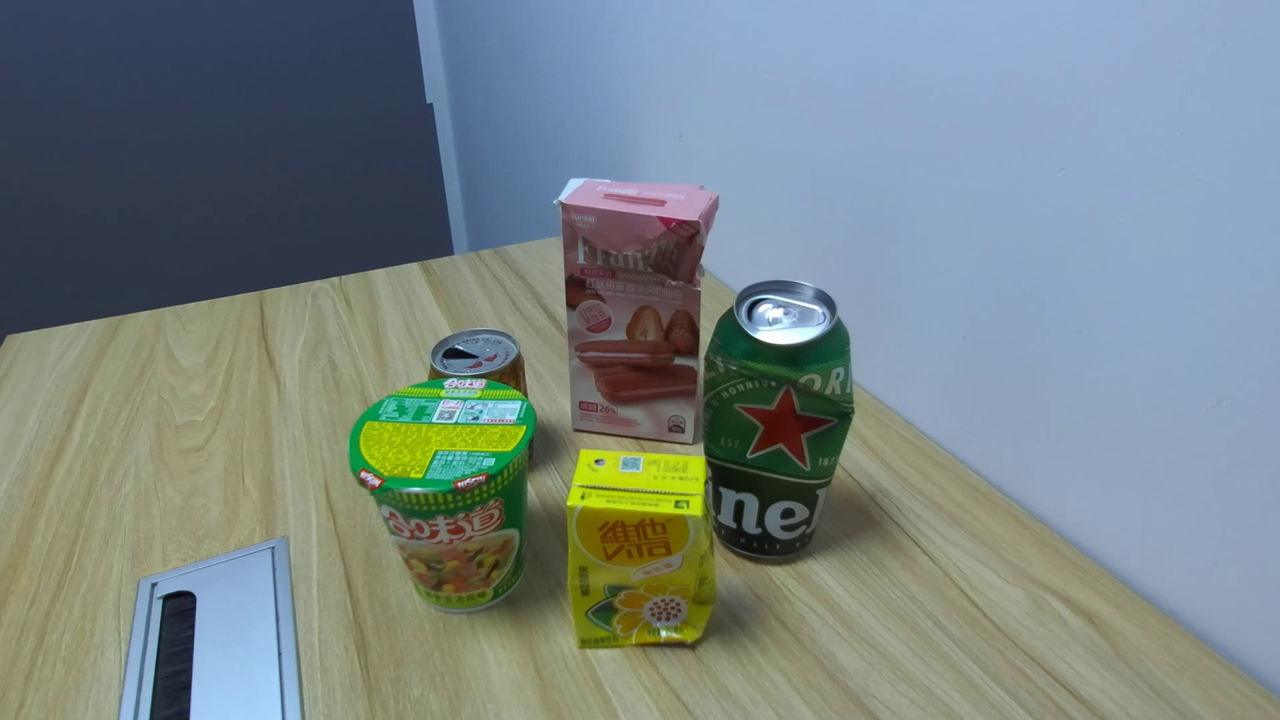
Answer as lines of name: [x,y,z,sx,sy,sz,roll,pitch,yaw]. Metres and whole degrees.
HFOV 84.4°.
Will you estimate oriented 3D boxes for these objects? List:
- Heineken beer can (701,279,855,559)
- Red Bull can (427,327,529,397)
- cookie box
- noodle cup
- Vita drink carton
Heineken beer can: [0.076,0.041,0.409,0.069,0.168,0.068,-19,38,-23]
Red Bull can: [-0.110,0.032,0.500,0.068,0.093,0.068,0,31,1]
cookie box: [-0.003,-0.030,0.506,0.105,0.186,0.059,8,35,11]
noodle cup: [-0.105,0.082,0.404,0.097,0.110,0.097,1,33,0]
Vita drink carton: [0.003,0.102,0.369,0.076,0.109,0.043,3,33,6]
